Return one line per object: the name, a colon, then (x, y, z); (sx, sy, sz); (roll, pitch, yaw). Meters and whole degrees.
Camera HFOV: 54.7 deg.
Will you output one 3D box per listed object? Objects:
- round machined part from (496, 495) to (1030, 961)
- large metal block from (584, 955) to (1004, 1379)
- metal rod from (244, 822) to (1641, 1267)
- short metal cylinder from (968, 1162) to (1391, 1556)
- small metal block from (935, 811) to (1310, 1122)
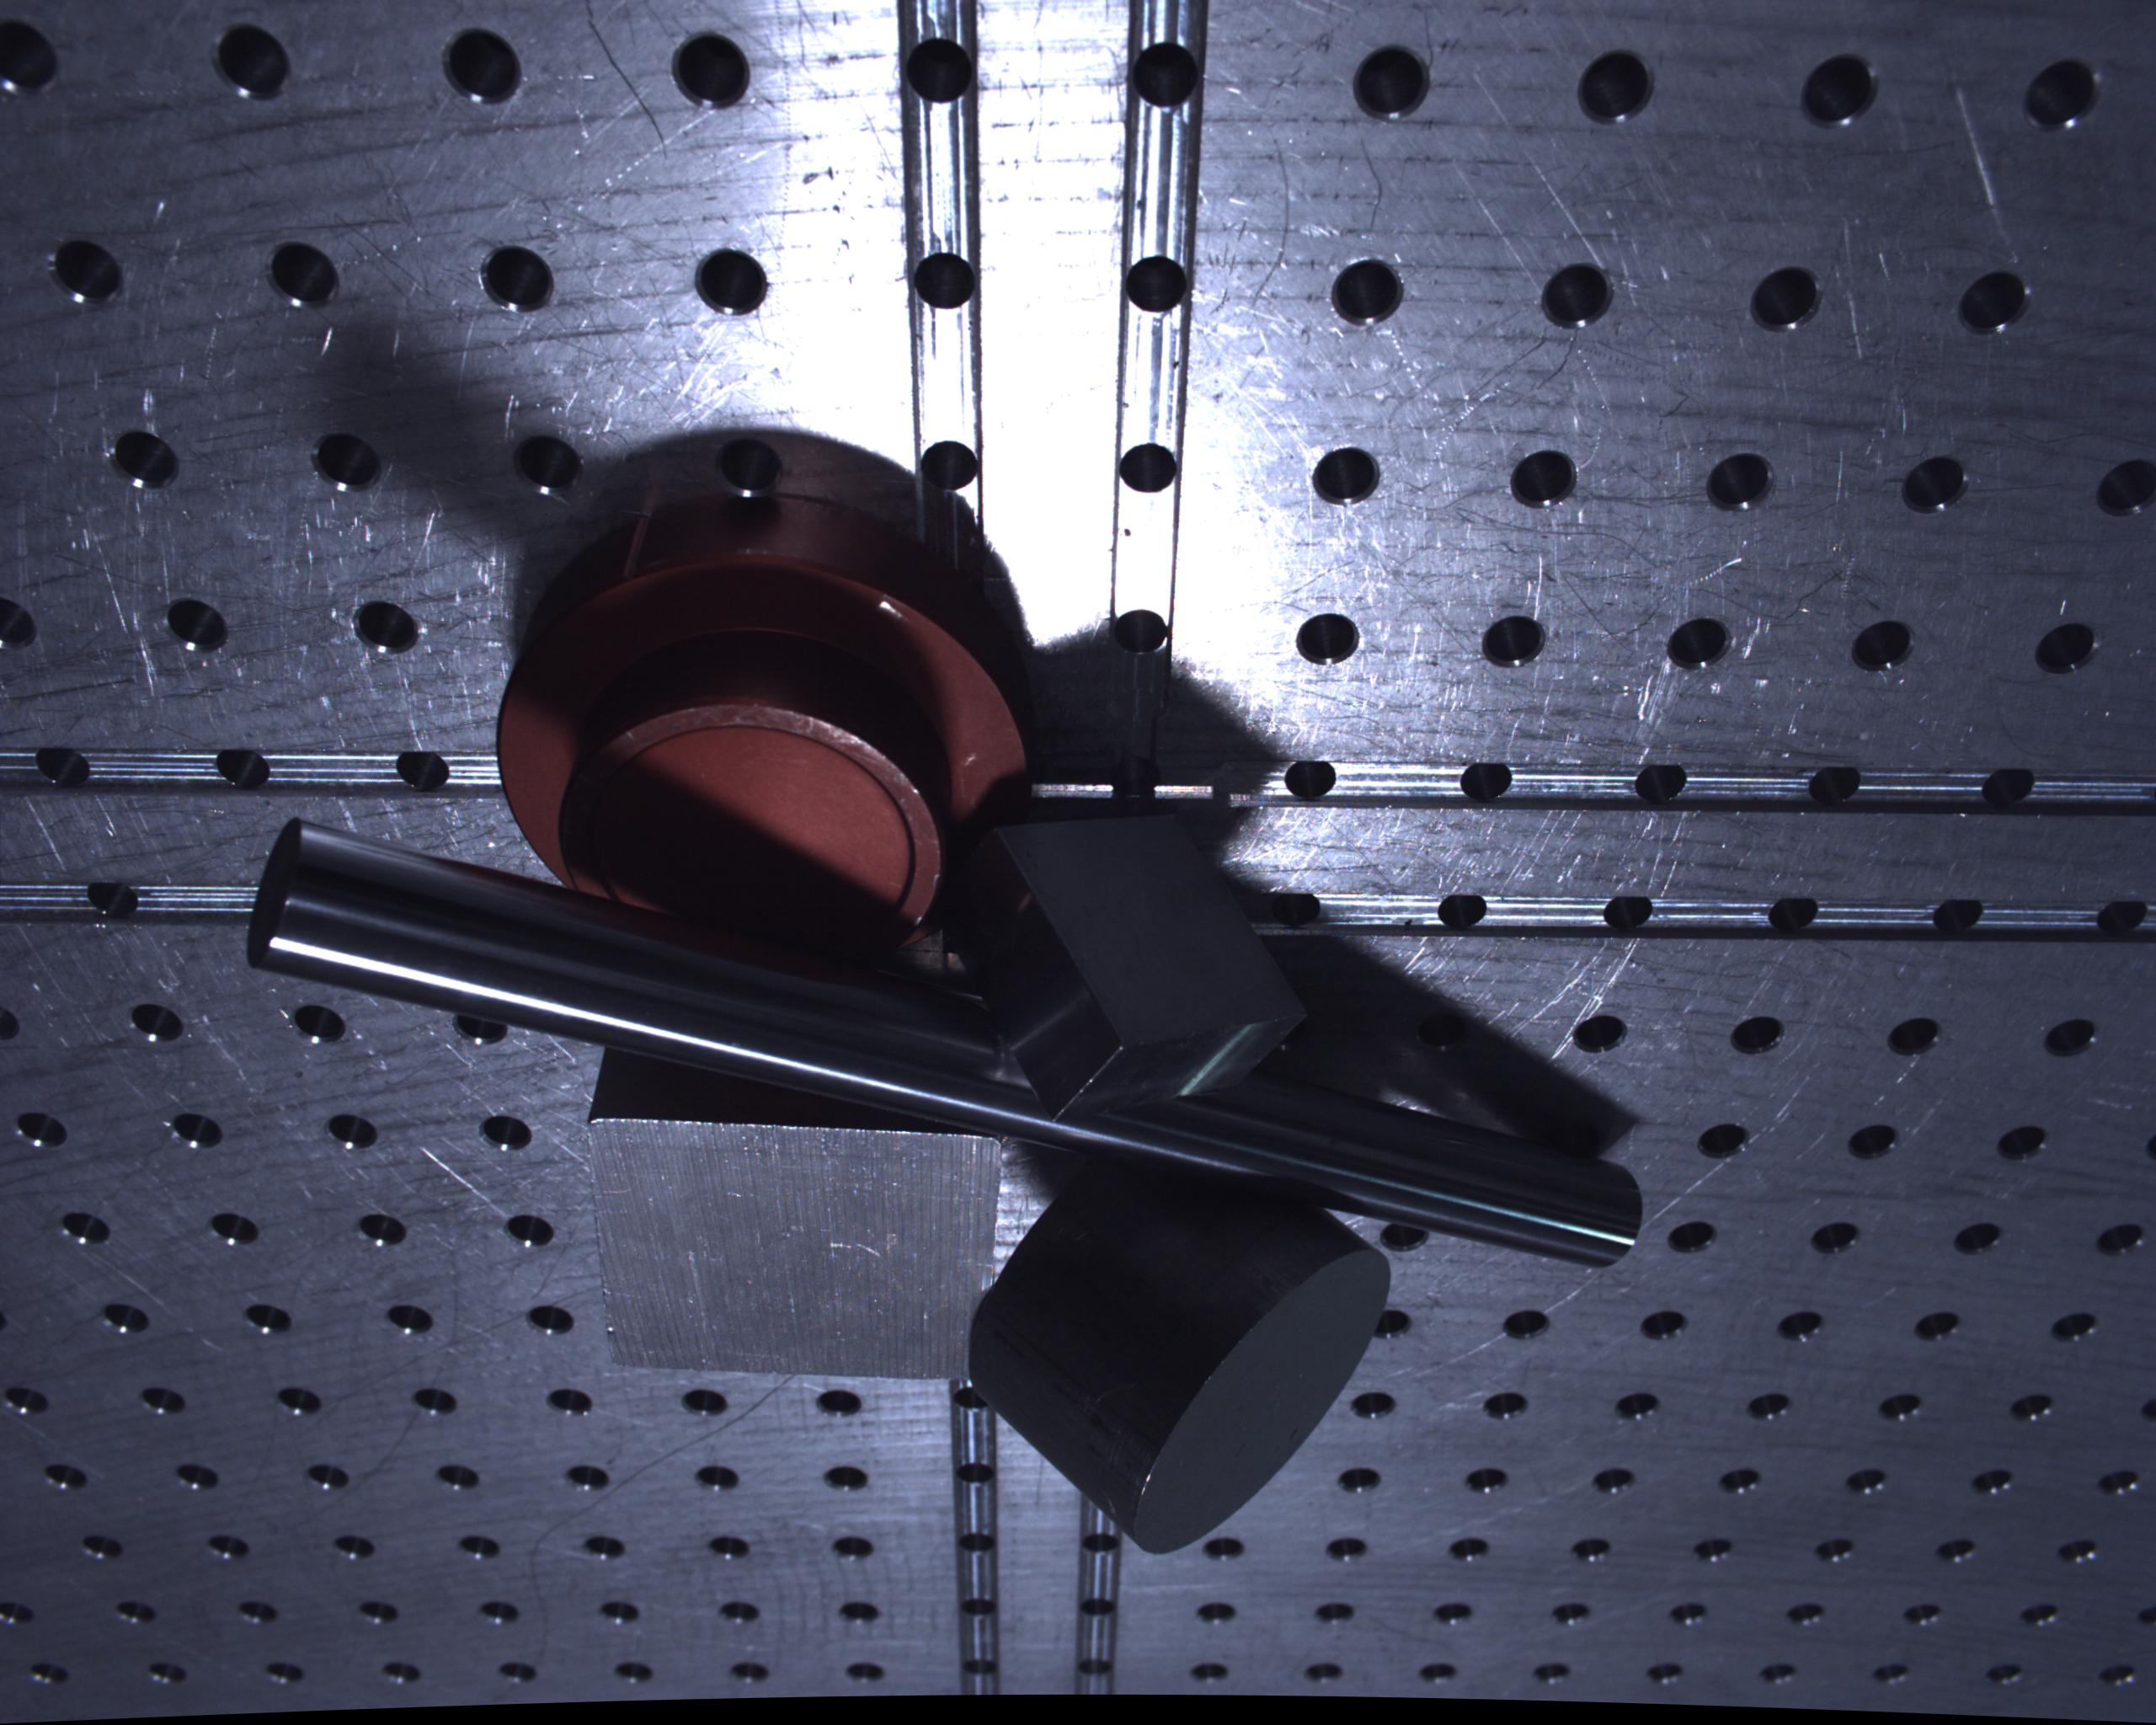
round machined part: (-0.058, -0.015, 0.387); (0.099, 0.042, 0.097); (-1, 130, 0)
large metal block: (-0.058, 0.065, 0.446); (0.081, 0.050, 0.079); (4, 130, -4)
metal rod: (-0.003, 0.043, 0.406); (0.302, 0.025, 0.025); (17, 129, -31)
short metal cylinder: (0.023, 0.102, 0.454); (0.080, 0.050, 0.080); (-36, 145, -29)
small metal block: (0.008, 0.018, 0.398); (0.050, 0.050, 0.025); (-5, 145, -44)
